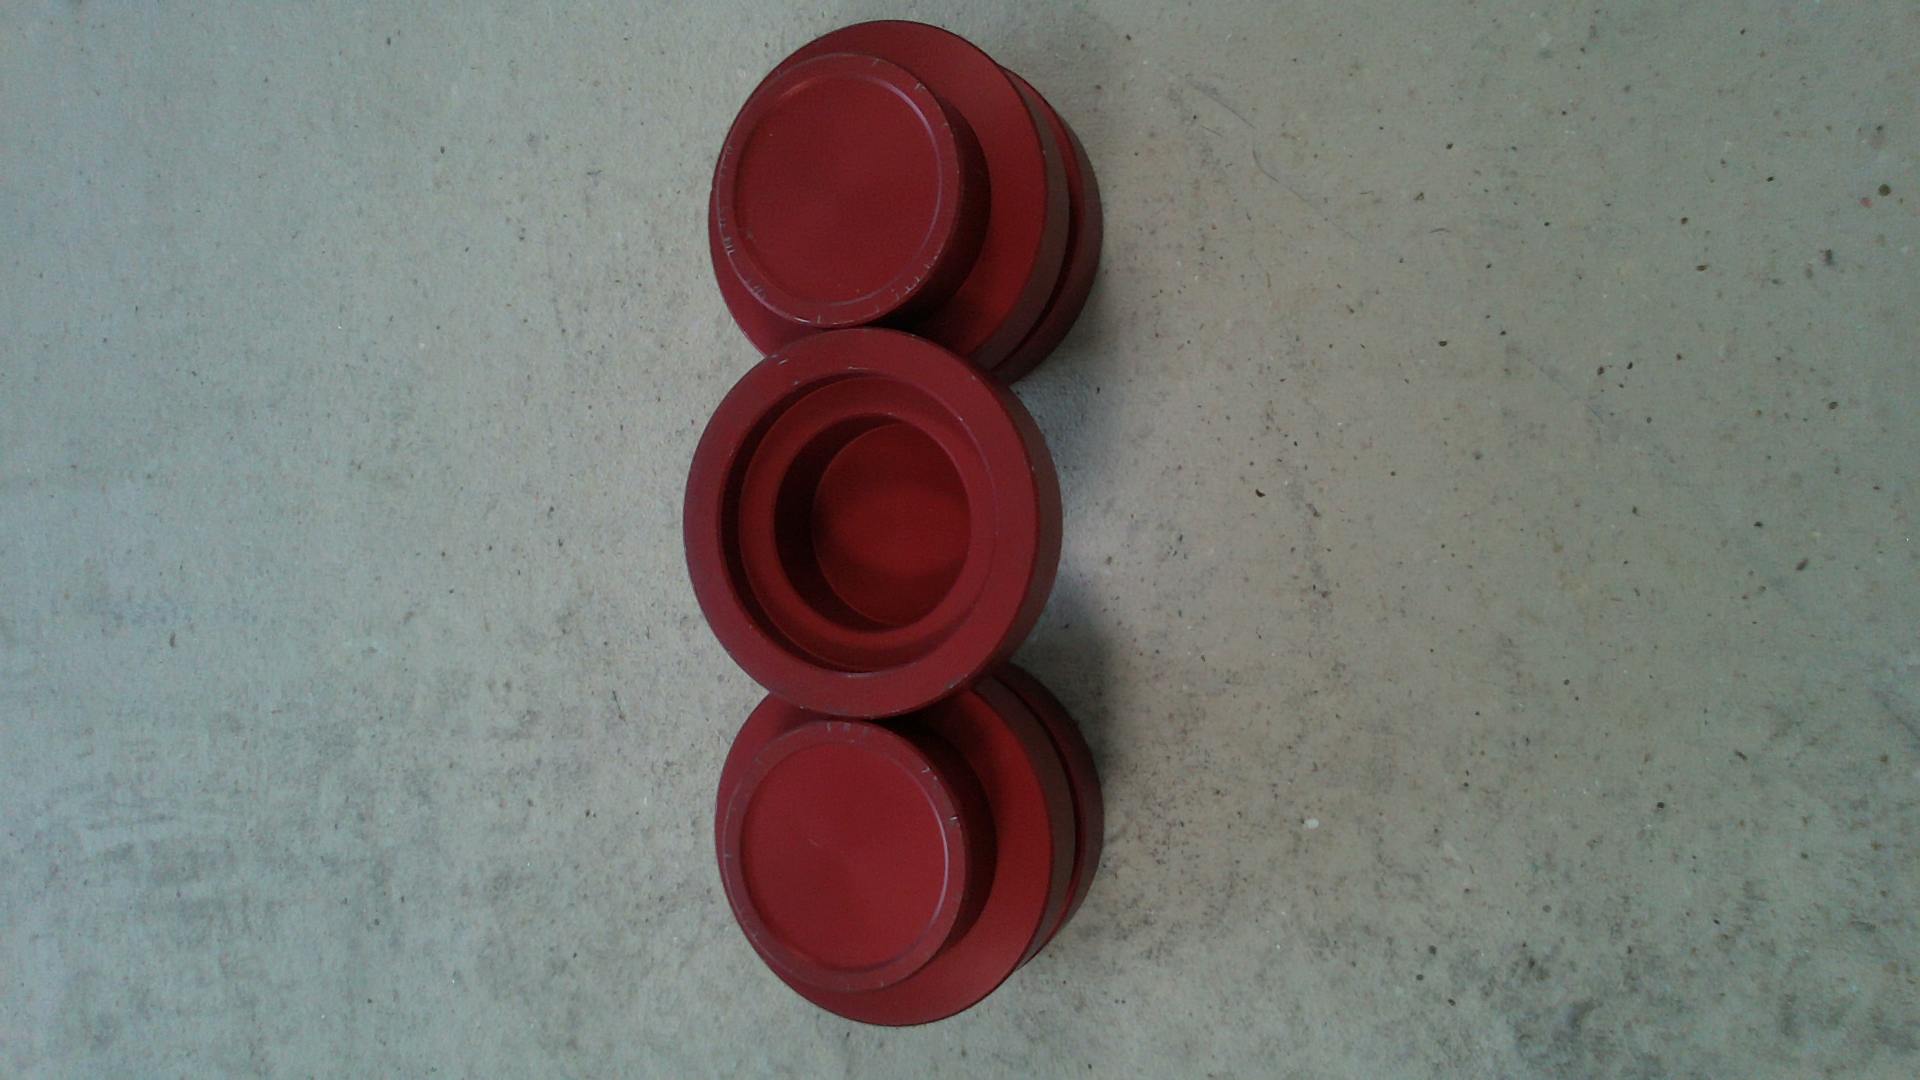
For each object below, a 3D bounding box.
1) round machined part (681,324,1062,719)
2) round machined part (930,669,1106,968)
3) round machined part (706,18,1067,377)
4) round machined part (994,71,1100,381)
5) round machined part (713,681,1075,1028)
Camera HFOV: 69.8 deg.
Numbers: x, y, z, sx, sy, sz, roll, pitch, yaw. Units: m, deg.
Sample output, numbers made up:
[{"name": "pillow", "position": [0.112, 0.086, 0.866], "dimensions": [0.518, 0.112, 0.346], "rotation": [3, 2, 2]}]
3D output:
[{"name": "round machined part", "position": [-0.020, -0.005, 0.360], "dimensions": [0.098, 0.042, 0.098], "rotation": [0, 90, 20]}, {"name": "round machined part", "position": [-0.011, 0.081, 0.392], "dimensions": [0.098, 0.042, 0.098], "rotation": [0, 89, 21]}, {"name": "round machined part", "position": [-0.025, -0.088, 0.361], "dimensions": [0.098, 0.042, 0.098], "rotation": [0, 91, 21]}, {"name": "round machined part", "position": [-0.013, -0.090, 0.391], "dimensions": [0.098, 0.042, 0.098], "rotation": [0, 91, 22]}, {"name": "round machined part", "position": [-0.023, 0.079, 0.360], "dimensions": [0.098, 0.042, 0.098], "rotation": [0, 91, 21]}]
